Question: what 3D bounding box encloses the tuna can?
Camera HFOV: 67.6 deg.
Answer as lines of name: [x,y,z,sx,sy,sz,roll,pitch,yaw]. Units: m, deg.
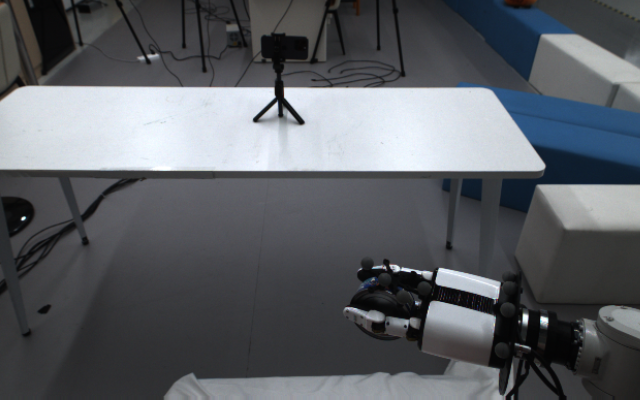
tuna can: [0.090,0.146,0.663,0.085,0.085,0.034,16,29,19]
